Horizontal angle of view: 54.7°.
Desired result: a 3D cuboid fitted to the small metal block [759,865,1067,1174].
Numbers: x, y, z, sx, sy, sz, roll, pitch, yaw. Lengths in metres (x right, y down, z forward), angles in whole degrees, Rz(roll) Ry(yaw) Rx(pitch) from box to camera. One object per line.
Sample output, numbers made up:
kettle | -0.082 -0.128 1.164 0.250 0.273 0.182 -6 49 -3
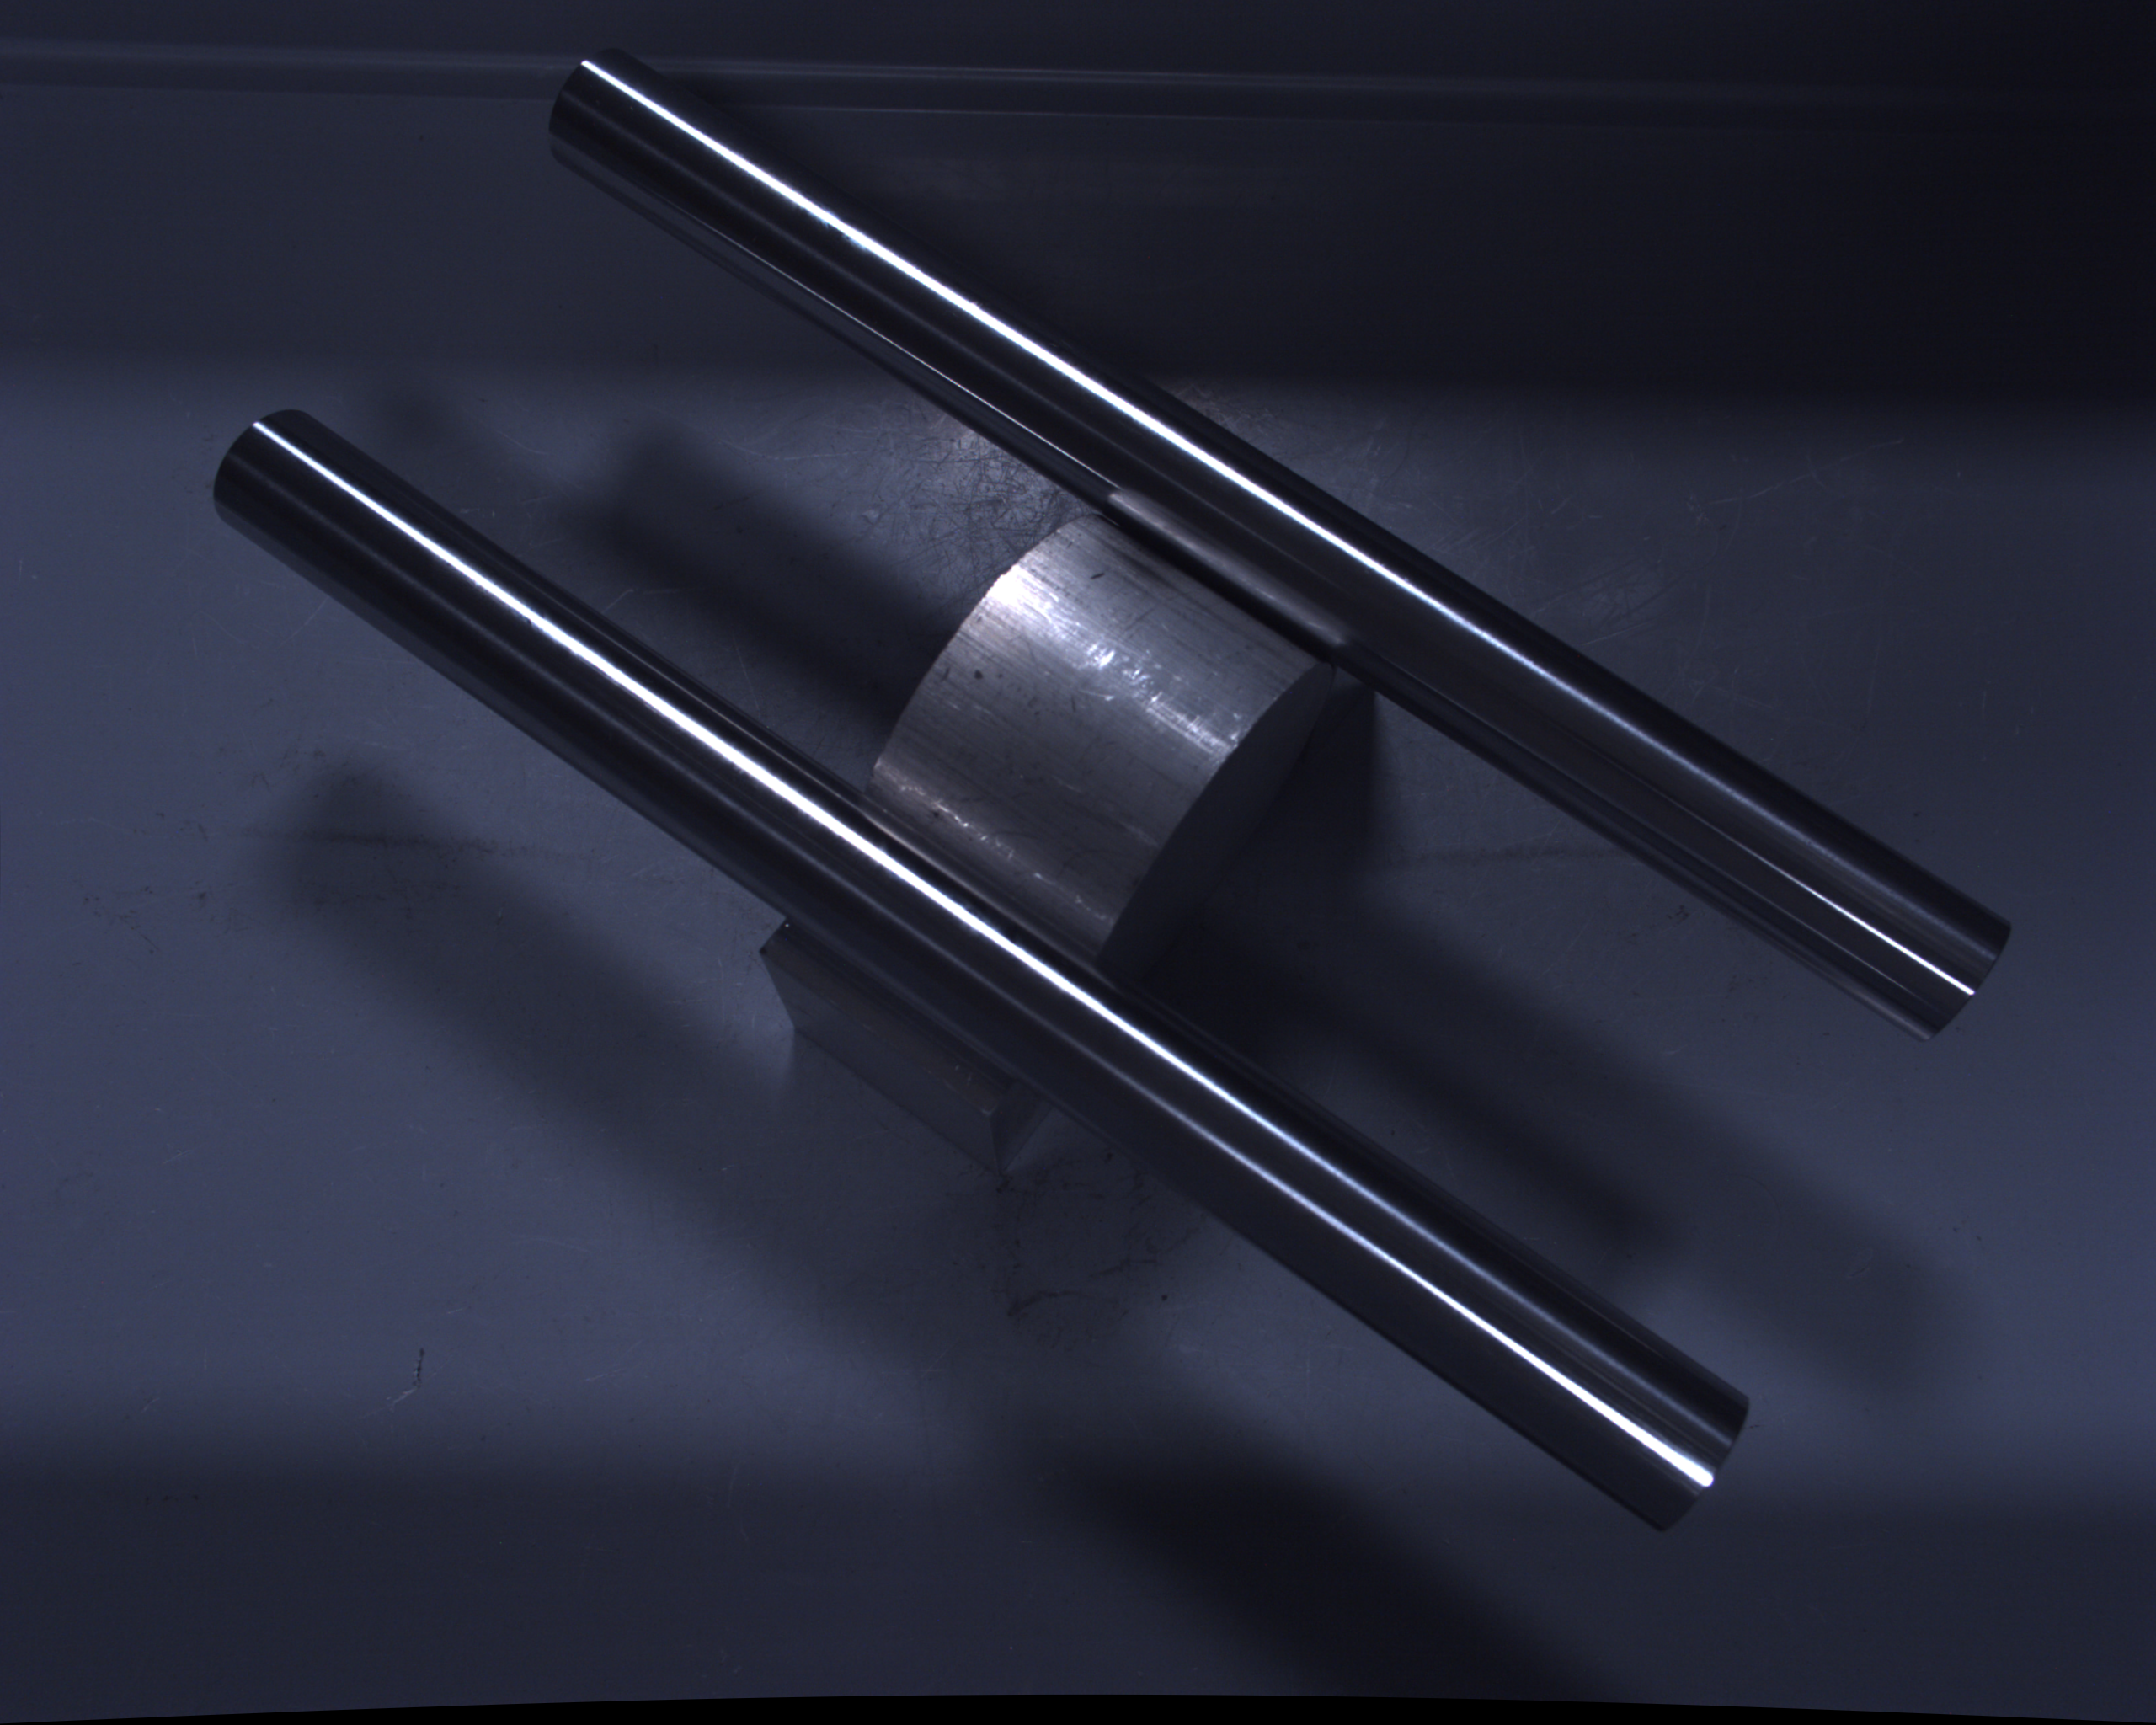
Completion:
small metal block | -0.028 0.028 0.384 0.050 0.050 0.025 35 74 11

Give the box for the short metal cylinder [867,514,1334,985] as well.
short metal cylinder | 0.004 -0.017 0.385 0.050 0.080 0.080 35 74 11

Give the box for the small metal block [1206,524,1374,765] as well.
small metal block | 0.035 -0.052 0.414 0.050 0.050 0.025 35 74 11

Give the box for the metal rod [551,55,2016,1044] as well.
metal rod | 0.028 -0.063 0.378 0.300 0.025 0.025 34 73 11

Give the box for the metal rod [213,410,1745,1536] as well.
metal rod | -0.026 0.011 0.352 0.300 0.025 0.025 34 73 11
